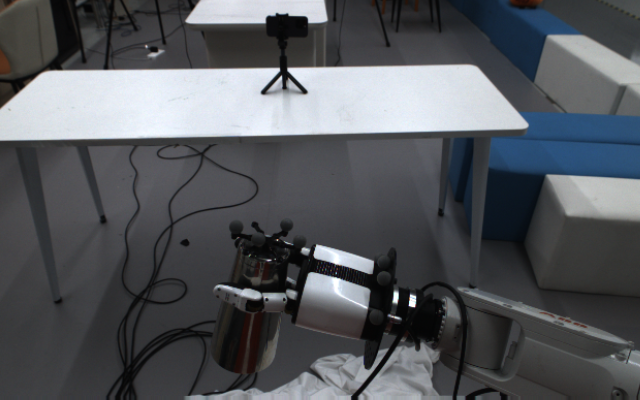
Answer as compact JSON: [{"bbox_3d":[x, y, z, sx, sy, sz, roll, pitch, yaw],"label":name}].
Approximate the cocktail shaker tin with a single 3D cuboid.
[{"bbox_3d":[-0.085,0.131,0.644,0.093,0.170,0.093,12,25,-6],"label":"cocktail shaker tin"}]
